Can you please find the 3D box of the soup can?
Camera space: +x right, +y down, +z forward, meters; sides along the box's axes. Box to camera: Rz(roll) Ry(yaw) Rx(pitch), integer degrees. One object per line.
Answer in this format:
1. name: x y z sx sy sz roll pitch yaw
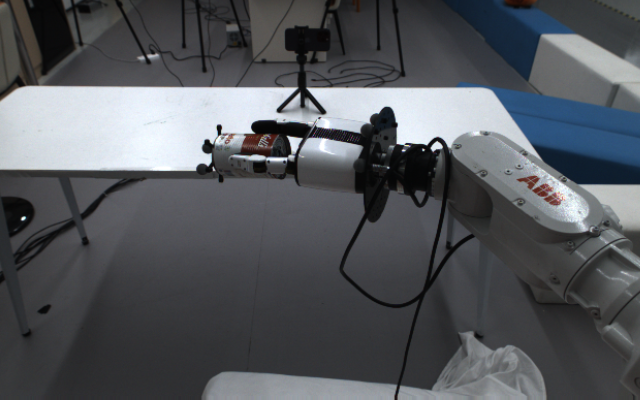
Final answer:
1. soup can: -0.102 -0.066 0.730 0.101 0.067 0.067 4 34 20
